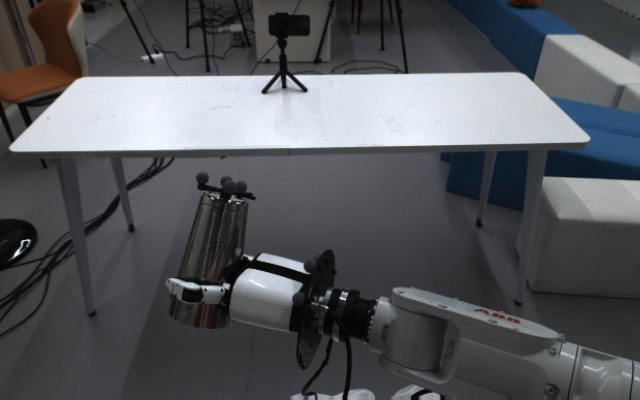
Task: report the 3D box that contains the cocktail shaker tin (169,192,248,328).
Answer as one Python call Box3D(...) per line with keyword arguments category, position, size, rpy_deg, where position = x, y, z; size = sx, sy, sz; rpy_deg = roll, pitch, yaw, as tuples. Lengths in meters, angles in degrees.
Box3D(category="cocktail shaker tin", position=(-0.147, 0.080, 0.670), size=(0.093, 0.170, 0.093), rpy_deg=(12, 5, -1))
